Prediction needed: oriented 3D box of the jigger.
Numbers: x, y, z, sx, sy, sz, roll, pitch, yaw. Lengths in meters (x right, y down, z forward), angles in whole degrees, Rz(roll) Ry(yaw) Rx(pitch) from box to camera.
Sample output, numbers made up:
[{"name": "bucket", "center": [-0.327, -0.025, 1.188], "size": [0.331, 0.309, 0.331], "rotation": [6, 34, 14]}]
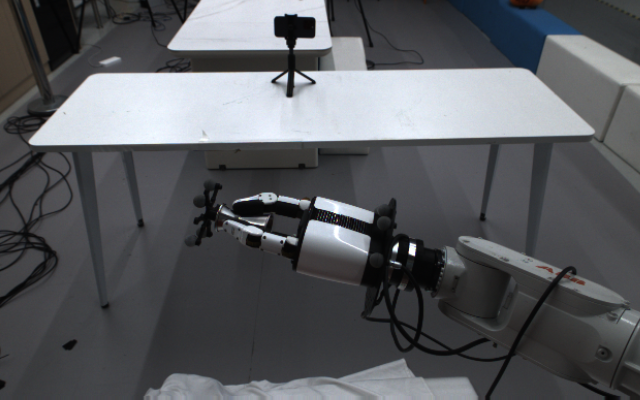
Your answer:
[{"name": "jigger", "center": [-0.095, 0.029, 0.646], "size": [0.071, 0.043, 0.043], "rotation": [14, 36, 4]}]
